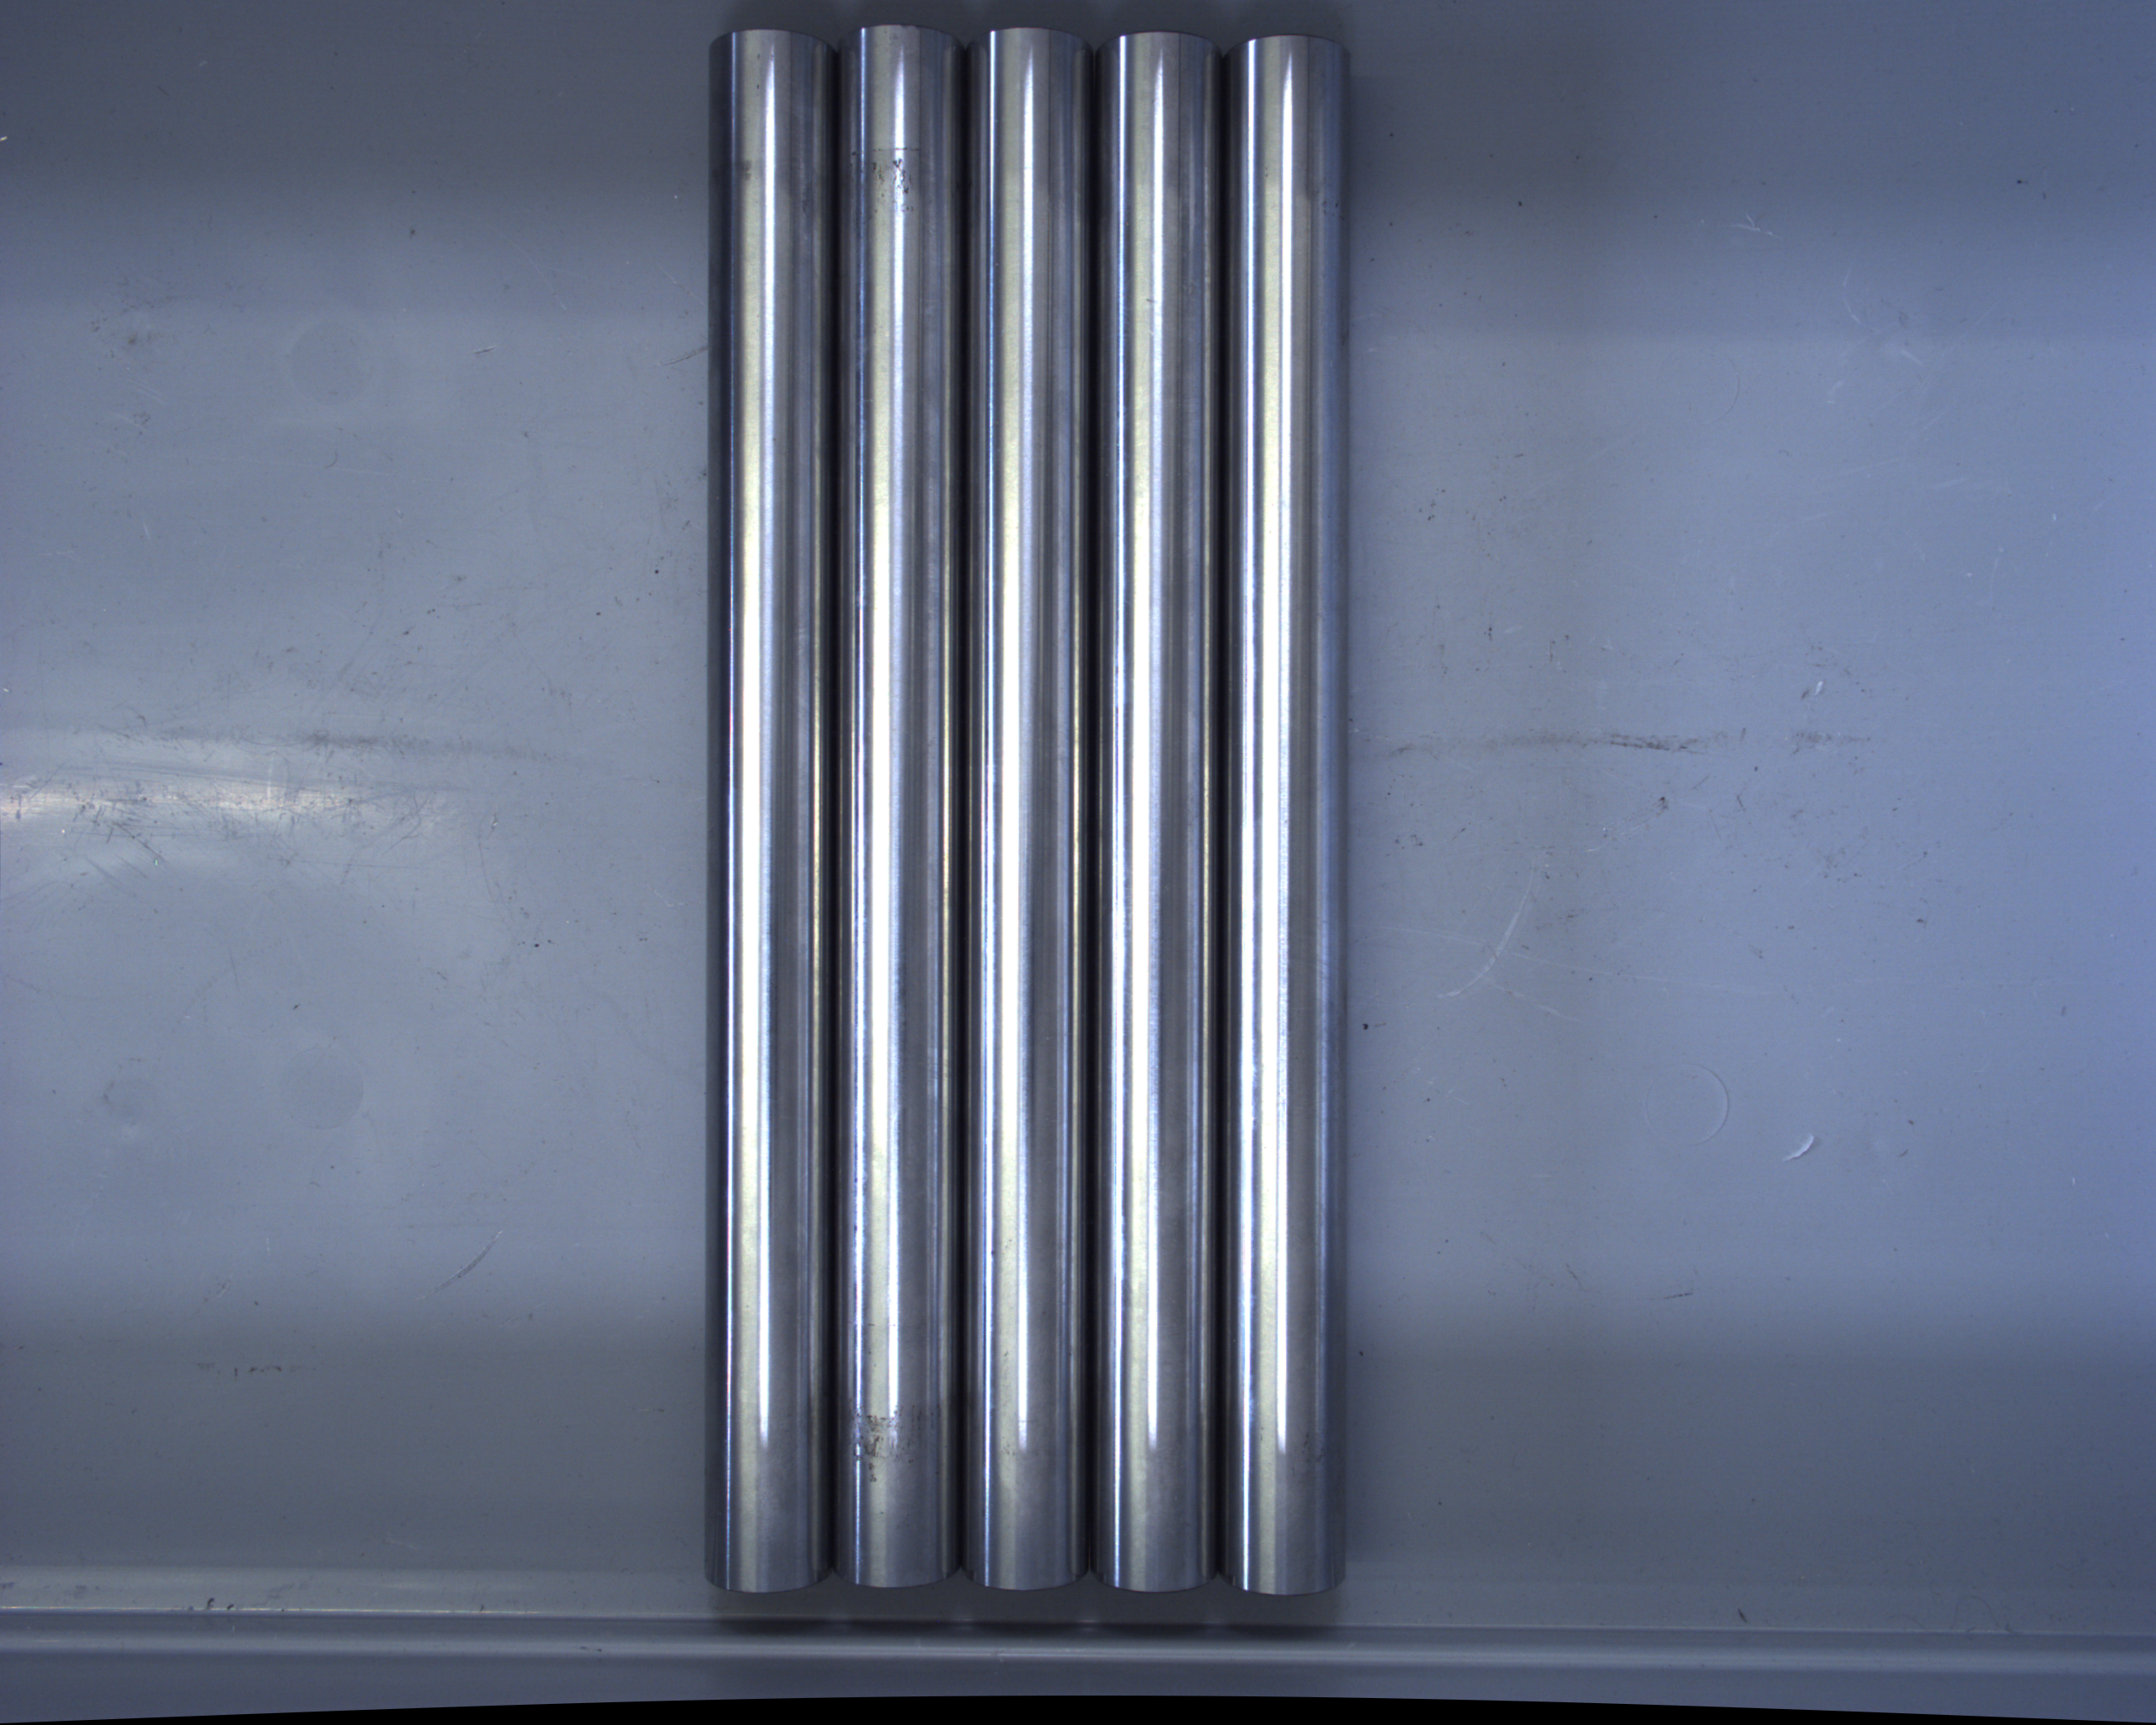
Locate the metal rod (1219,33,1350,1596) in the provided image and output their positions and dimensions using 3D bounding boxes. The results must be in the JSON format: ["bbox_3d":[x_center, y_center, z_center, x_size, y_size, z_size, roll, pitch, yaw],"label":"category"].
[{"bbox_3d":[0.040,-0.009,0.410,0.025,0.025,0.298,0,90,0],"label":"metal rod"}]

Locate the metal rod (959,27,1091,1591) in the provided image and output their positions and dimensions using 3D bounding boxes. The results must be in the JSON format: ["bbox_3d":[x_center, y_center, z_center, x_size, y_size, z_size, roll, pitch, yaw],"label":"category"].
[{"bbox_3d":[-0.010,-0.010,0.410,0.025,0.025,0.298,0,90,0],"label":"metal rod"}]

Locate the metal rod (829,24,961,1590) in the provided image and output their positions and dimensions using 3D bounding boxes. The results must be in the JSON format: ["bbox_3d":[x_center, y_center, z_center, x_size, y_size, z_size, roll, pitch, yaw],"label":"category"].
[{"bbox_3d":[-0.036,-0.011,0.410,0.025,0.025,0.298,0,90,0],"label":"metal rod"}]

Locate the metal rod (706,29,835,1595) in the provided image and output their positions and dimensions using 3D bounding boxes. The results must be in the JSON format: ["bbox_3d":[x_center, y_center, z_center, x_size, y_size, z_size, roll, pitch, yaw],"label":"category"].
[{"bbox_3d":[-0.060,-0.010,0.410,0.025,0.025,0.298,0,90,0],"label":"metal rod"}]

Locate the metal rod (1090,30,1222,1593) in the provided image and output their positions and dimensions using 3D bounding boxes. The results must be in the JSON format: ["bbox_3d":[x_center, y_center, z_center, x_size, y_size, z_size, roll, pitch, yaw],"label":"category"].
[{"bbox_3d":[0.015,-0.010,0.410,0.025,0.025,0.298,0,90,0],"label":"metal rod"}]
